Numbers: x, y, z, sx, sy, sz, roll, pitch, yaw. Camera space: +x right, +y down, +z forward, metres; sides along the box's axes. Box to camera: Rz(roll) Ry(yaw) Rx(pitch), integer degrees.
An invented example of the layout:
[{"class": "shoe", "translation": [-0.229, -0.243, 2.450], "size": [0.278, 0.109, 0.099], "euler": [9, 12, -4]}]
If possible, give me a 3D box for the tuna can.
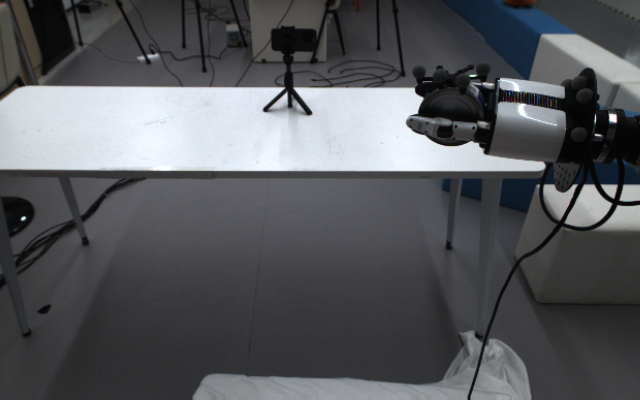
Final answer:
[{"class": "tuna can", "translation": [0.178, -0.119, 0.651], "size": [0.085, 0.085, 0.034], "euler": [14, 41, 16]}]
